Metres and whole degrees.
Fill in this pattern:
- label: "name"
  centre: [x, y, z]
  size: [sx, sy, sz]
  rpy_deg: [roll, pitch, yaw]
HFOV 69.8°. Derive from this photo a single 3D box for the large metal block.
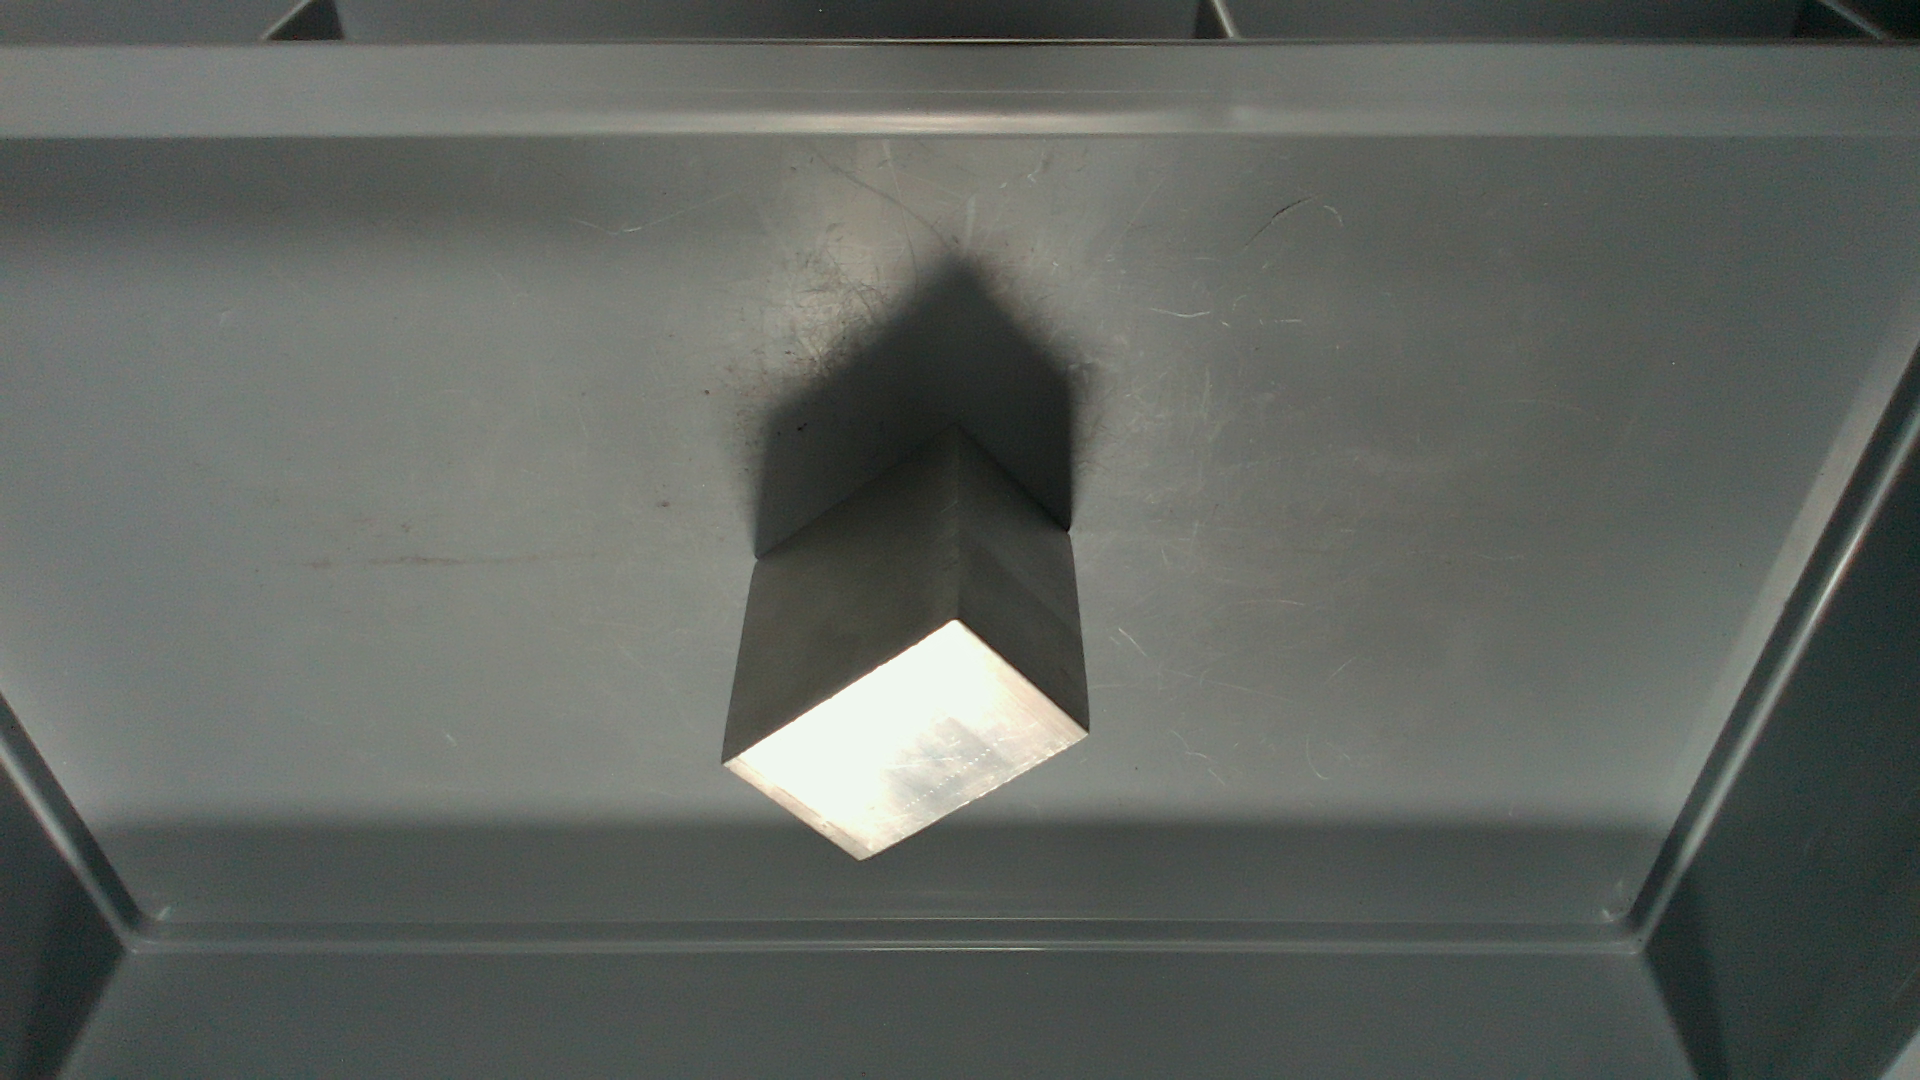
- label: "large metal block"
  centre: [-0.014, 0.028, 0.374]
  size: [0.080, 0.080, 0.050]
  rpy_deg: [-33, 123, 24]
